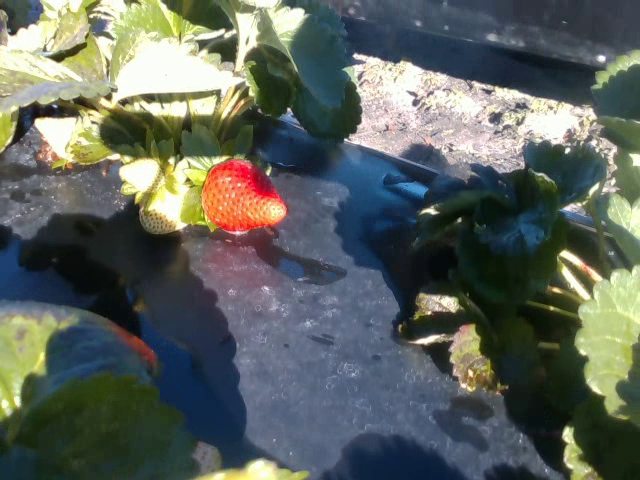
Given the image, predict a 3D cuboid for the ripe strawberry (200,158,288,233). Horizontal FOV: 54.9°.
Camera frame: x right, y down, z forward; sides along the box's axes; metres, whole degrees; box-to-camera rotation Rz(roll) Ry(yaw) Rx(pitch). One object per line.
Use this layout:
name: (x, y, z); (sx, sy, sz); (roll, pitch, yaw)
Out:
ripe strawberry: (-0.037, -0.020, 0.335); (0.064, 0.050, 0.052); (25, -18, 38)
